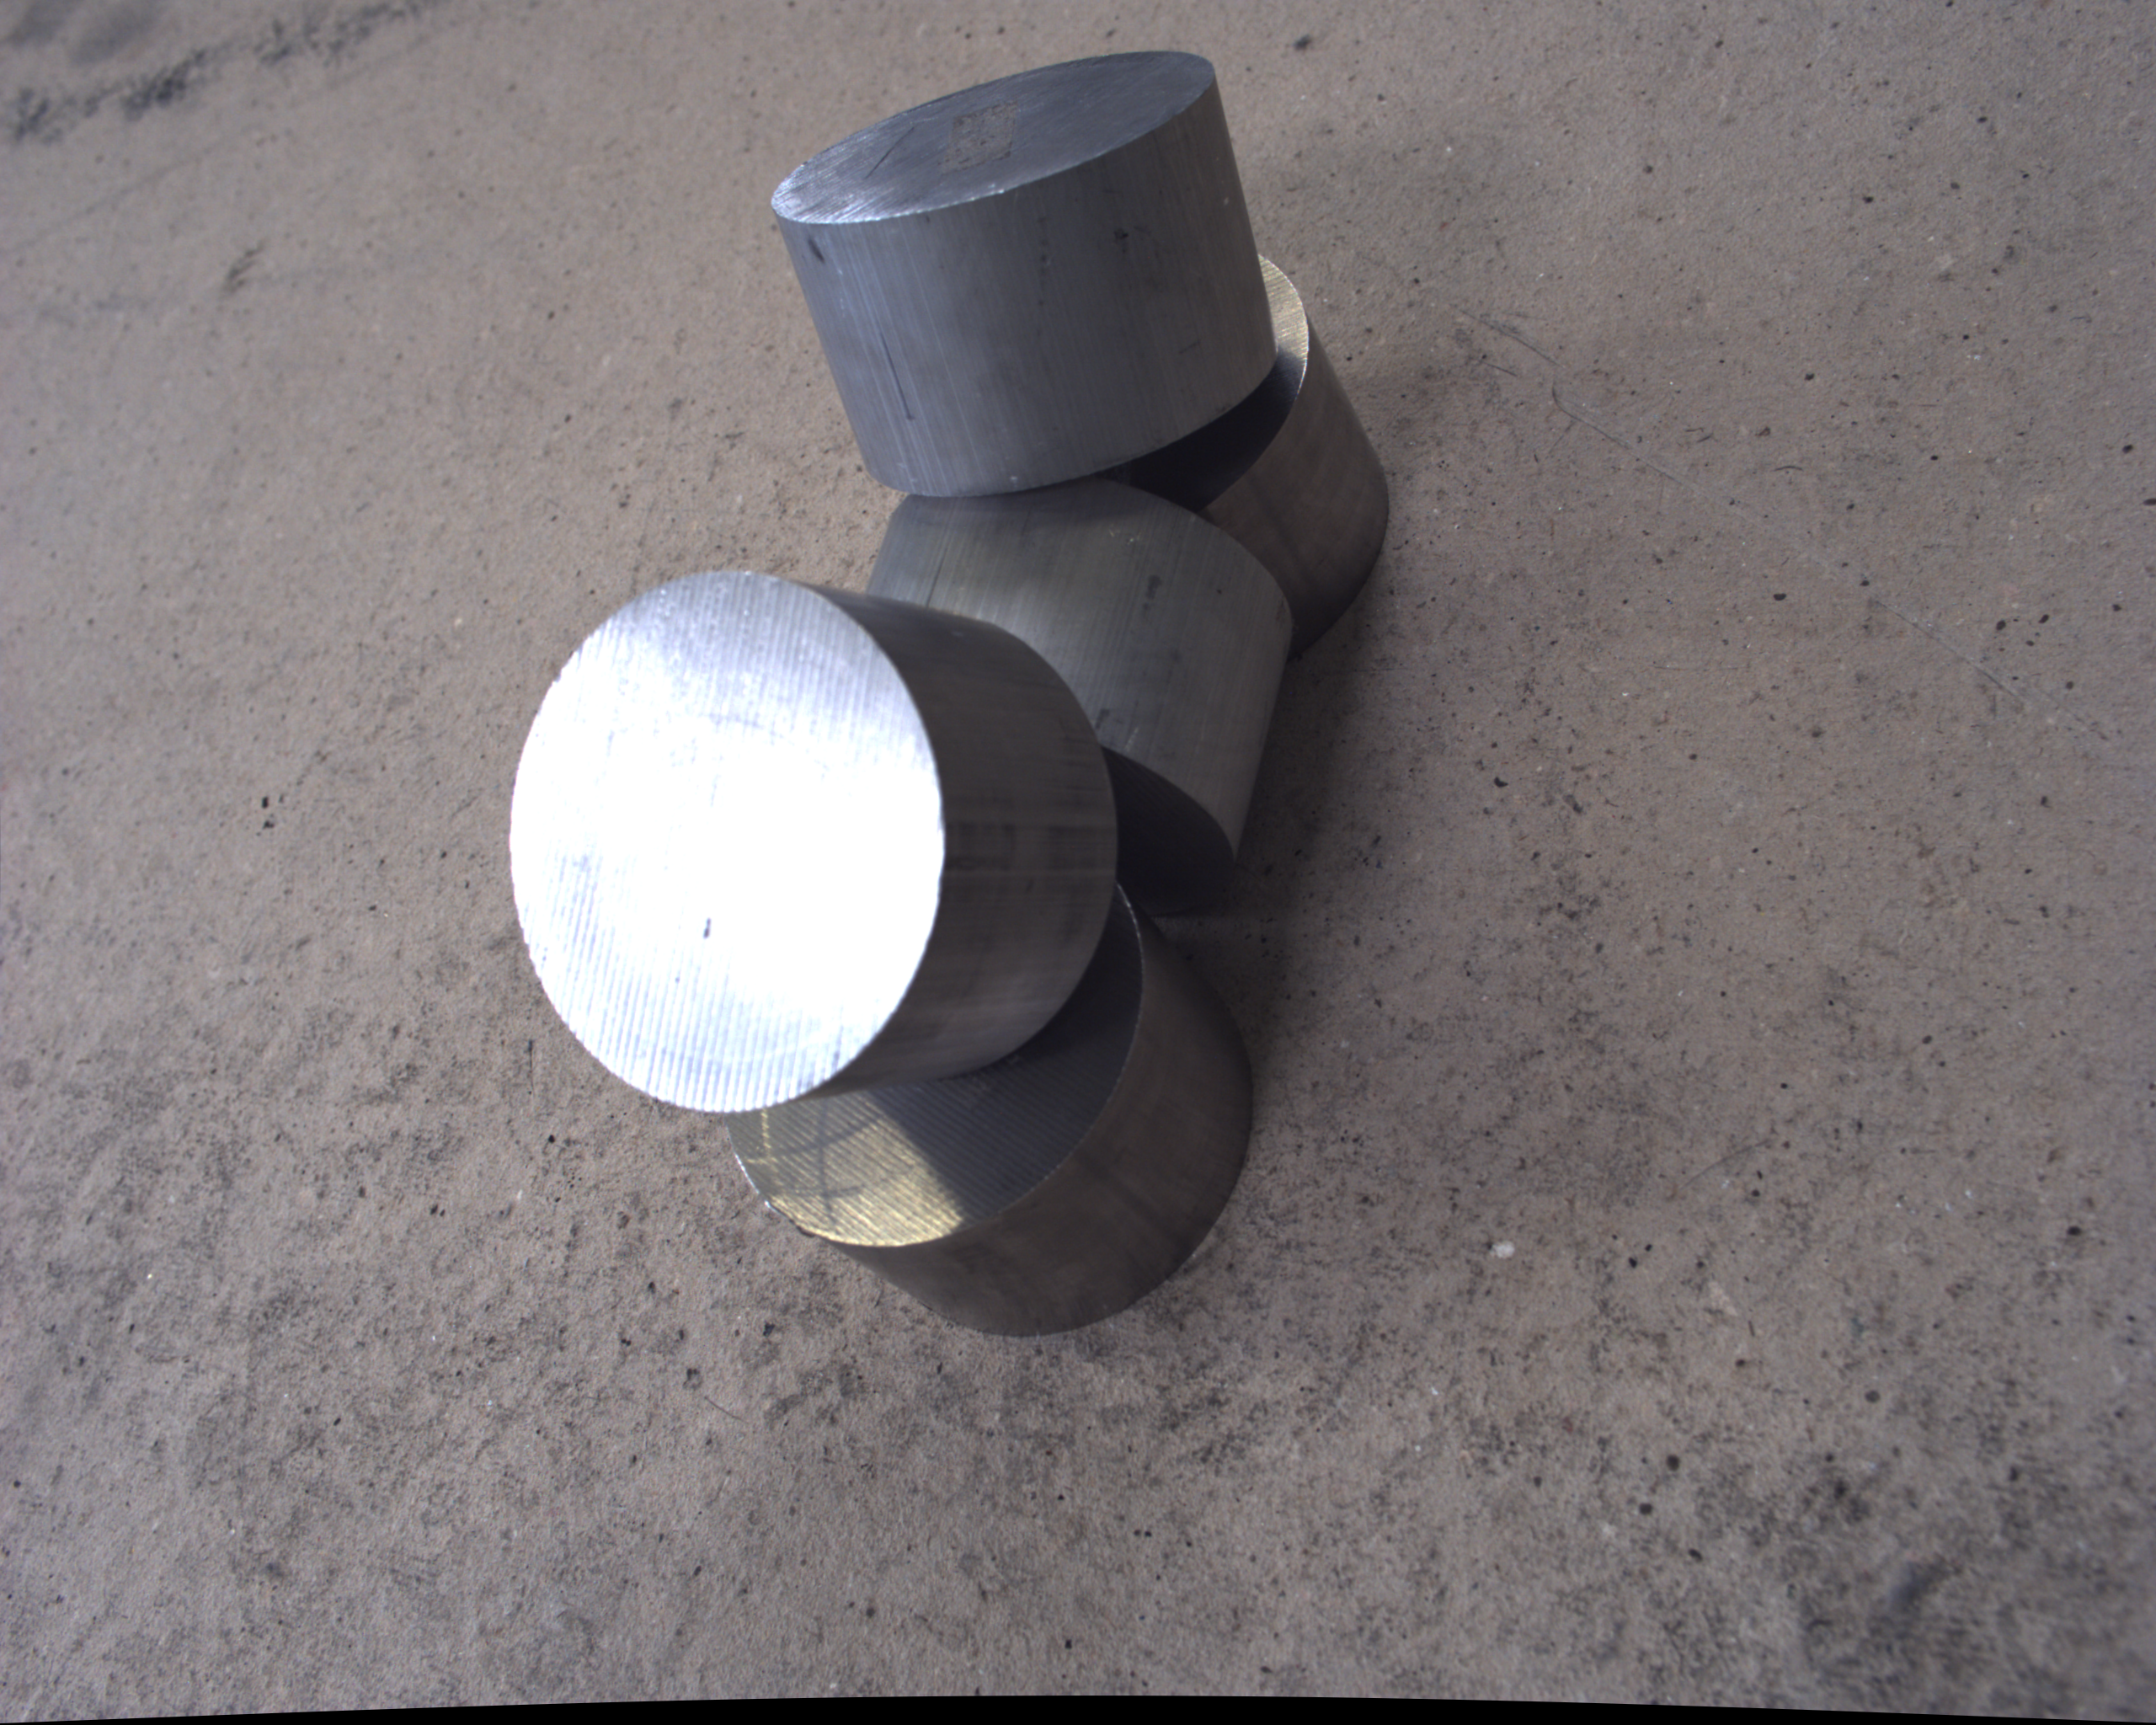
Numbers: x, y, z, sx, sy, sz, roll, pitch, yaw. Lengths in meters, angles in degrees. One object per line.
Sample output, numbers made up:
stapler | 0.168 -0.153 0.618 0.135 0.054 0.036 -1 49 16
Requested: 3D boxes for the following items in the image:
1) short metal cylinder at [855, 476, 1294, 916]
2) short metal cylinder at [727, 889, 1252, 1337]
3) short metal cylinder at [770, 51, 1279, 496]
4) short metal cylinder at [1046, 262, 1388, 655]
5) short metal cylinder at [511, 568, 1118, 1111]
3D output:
short metal cylinder | -0.004 -0.030 0.391 0.080 0.080 0.050 2 63 29
short metal cylinder | -0.015 0.039 0.374 0.080 0.050 0.080 -13 56 21
short metal cylinder | -0.009 -0.107 0.376 0.080 0.050 0.080 -13 32 9
short metal cylinder | 0.018 -0.080 0.430 0.080 0.050 0.080 -13 56 21
short metal cylinder | -0.041 -0.003 0.328 0.080 0.050 0.080 0 89 29
